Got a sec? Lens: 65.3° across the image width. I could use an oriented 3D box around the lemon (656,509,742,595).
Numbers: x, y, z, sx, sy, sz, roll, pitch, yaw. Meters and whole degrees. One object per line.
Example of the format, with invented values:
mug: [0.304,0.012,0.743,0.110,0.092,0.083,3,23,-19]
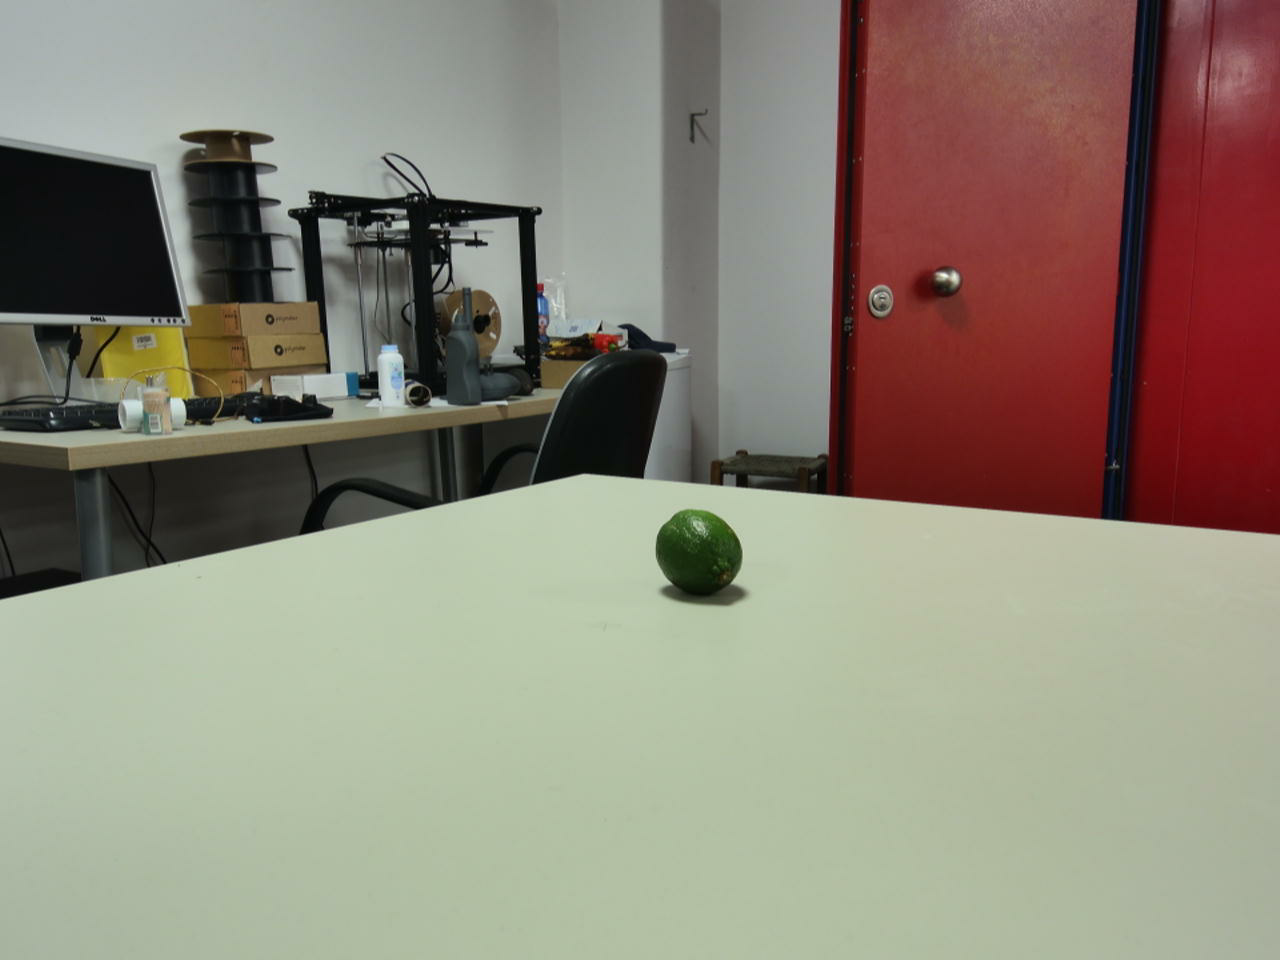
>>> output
lemon: [0.037,0.044,0.623,0.057,0.051,0.054,4,8,31]
